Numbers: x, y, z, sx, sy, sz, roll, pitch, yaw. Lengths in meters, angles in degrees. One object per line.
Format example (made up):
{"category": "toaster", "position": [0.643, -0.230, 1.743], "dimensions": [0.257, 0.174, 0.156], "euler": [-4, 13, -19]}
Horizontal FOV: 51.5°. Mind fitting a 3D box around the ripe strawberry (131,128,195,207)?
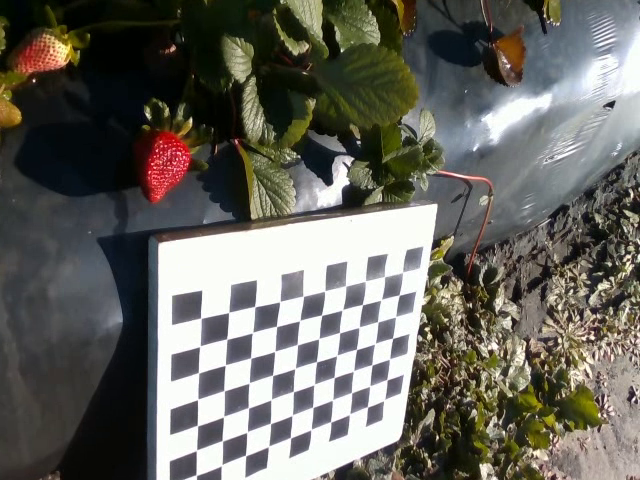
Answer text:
{"category": "ripe strawberry", "position": [-0.114, -0.050, 0.460], "dimensions": [0.058, 0.062, 0.066], "euler": [-32, -45, 12]}
